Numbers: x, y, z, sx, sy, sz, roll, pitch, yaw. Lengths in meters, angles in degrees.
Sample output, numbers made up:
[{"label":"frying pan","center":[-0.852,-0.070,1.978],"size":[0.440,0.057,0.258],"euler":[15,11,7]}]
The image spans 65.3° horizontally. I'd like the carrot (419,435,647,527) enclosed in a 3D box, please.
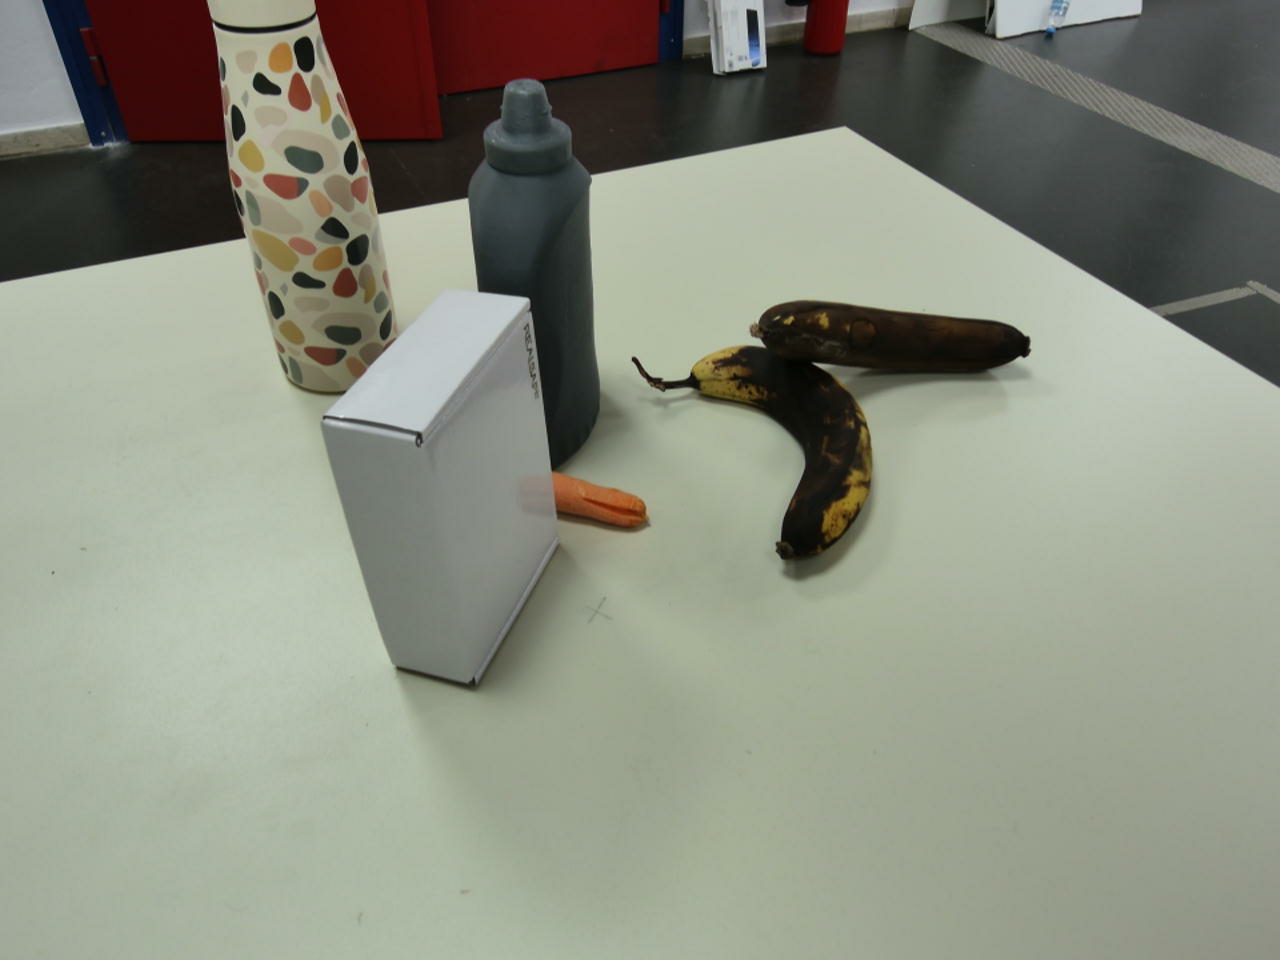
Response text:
[{"label":"carrot","center":[-0.061,0.001,0.553],"size":[0.136,0.032,0.030],"euler":[13,40,15]}]
